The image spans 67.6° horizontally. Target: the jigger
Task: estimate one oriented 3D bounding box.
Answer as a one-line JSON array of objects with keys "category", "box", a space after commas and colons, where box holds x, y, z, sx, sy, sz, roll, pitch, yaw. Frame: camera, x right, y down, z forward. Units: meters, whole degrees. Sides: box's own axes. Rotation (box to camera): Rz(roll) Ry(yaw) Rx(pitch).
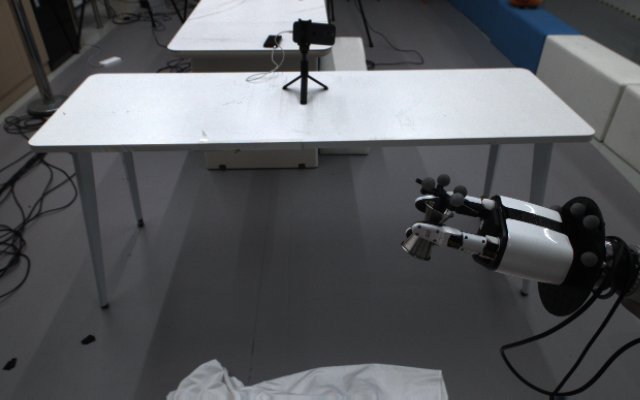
[{"category": "jigger", "box": [0.139, 0.039, 0.634, 0.043, 0.071, 0.043, 23, 19, -8]}]
